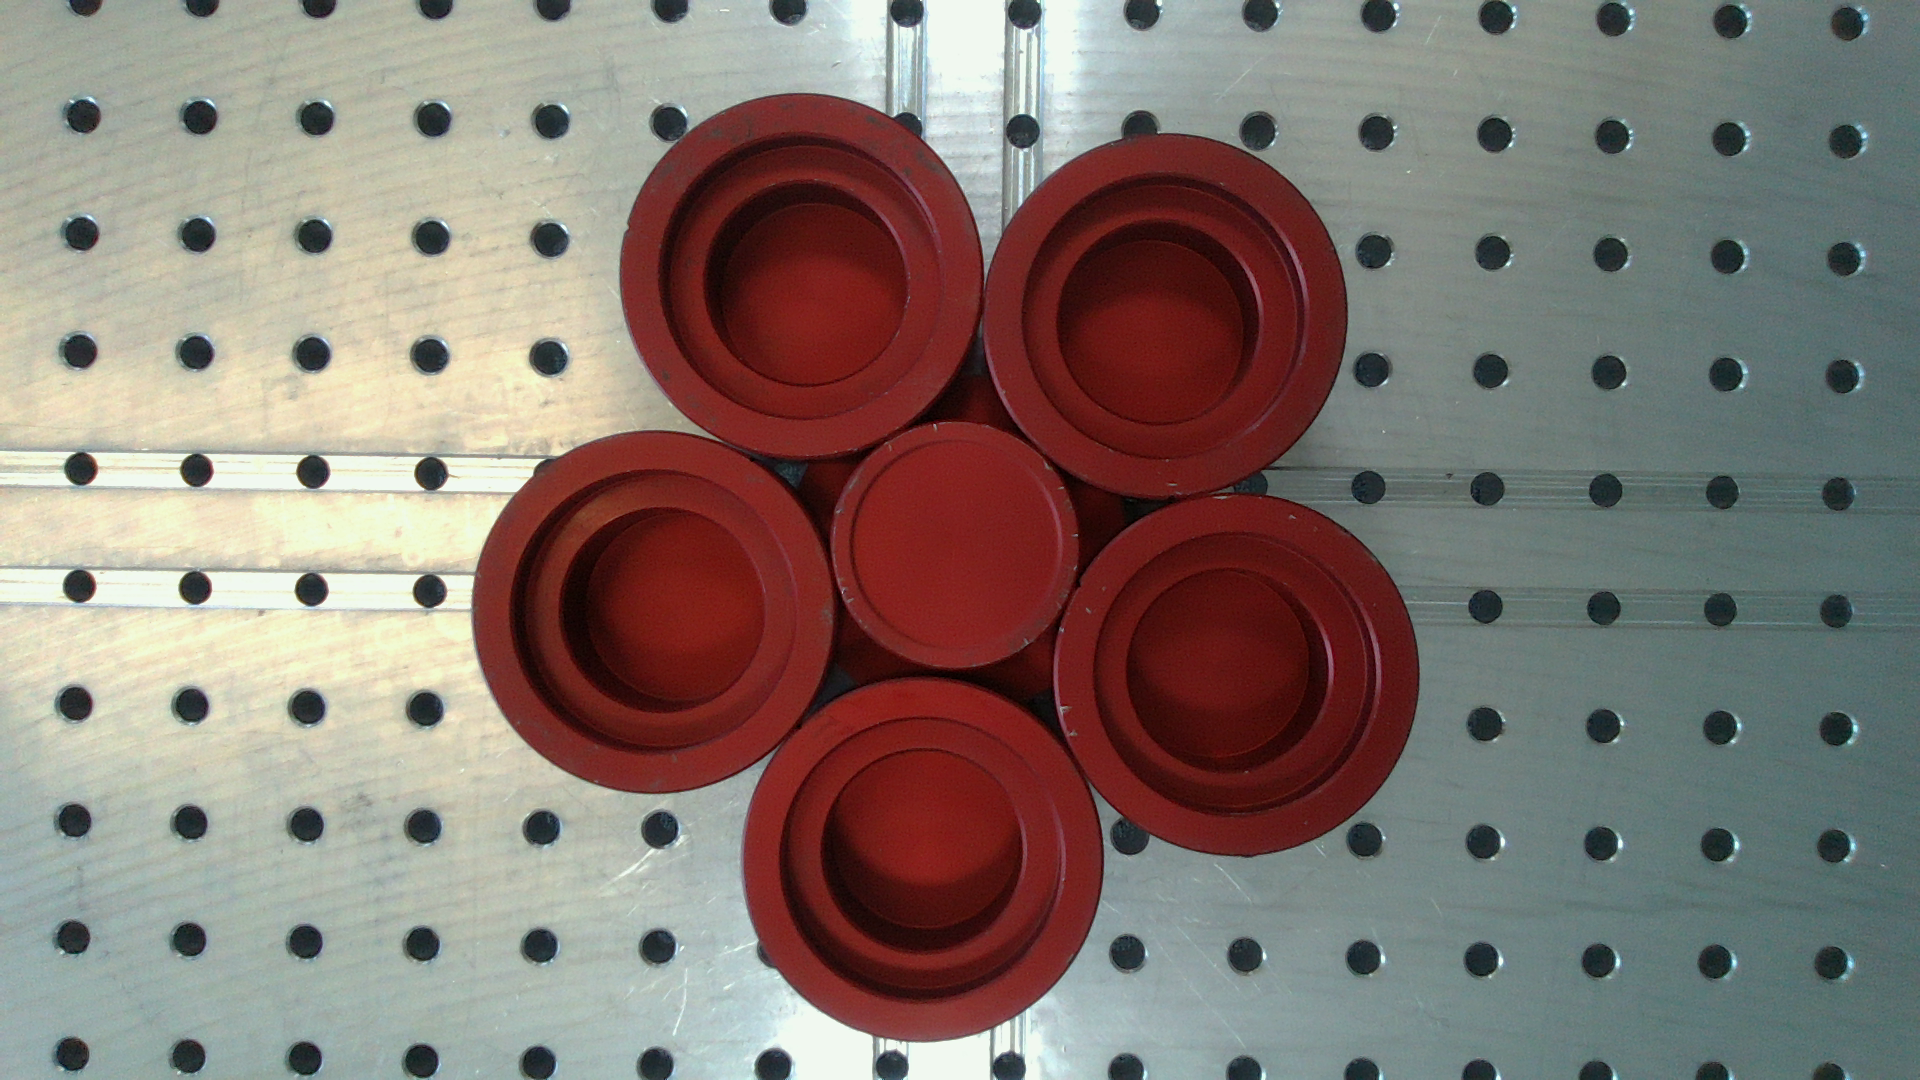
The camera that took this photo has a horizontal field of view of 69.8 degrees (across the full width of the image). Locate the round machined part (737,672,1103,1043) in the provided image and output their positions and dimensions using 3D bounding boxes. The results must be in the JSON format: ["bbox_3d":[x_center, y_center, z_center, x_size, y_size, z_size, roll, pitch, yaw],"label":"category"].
[{"bbox_3d":[-0.011,0.086,0.389,0.098,0.042,0.098,0,90,0],"label":"round machined part"}]

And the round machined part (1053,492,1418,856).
[{"bbox_3d":[0.074,0.036,0.389,0.098,0.042,0.098,0,90,0],"label":"round machined part"}]

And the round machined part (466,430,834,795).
[{"bbox_3d":[-0.083,0.019,0.388,0.098,0.042,0.098,0,90,0],"label":"round machined part"}]

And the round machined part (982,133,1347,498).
[{"bbox_3d":[0.055,-0.060,0.389,0.098,0.042,0.098,0,90,0],"label":"round machined part"}]

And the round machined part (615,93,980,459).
[{"bbox_3d":[-0.043,-0.071,0.388,0.098,0.042,0.098,0,90,0],"label":"round machined part"}]

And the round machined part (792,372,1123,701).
[{"bbox_3d":[-0.002,0.001,0.389,0.098,0.042,0.098,0,90,0],"label":"round machined part"}]
